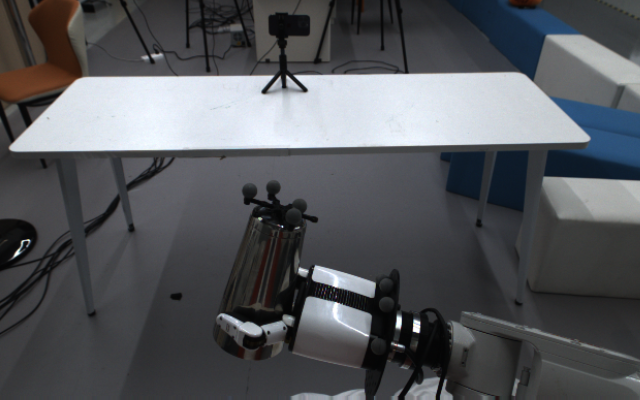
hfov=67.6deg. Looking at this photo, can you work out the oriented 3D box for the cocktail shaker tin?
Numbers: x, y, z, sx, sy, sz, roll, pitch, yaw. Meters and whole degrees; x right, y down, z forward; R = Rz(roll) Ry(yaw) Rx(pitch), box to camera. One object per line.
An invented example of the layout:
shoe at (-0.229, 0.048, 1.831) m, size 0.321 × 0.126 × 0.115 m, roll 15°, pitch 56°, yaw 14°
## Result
cocktail shaker tin at (-0.068, 0.094, 0.585) m, size 0.093 × 0.170 × 0.093 m, roll 14°, pitch 20°, yaw -5°
